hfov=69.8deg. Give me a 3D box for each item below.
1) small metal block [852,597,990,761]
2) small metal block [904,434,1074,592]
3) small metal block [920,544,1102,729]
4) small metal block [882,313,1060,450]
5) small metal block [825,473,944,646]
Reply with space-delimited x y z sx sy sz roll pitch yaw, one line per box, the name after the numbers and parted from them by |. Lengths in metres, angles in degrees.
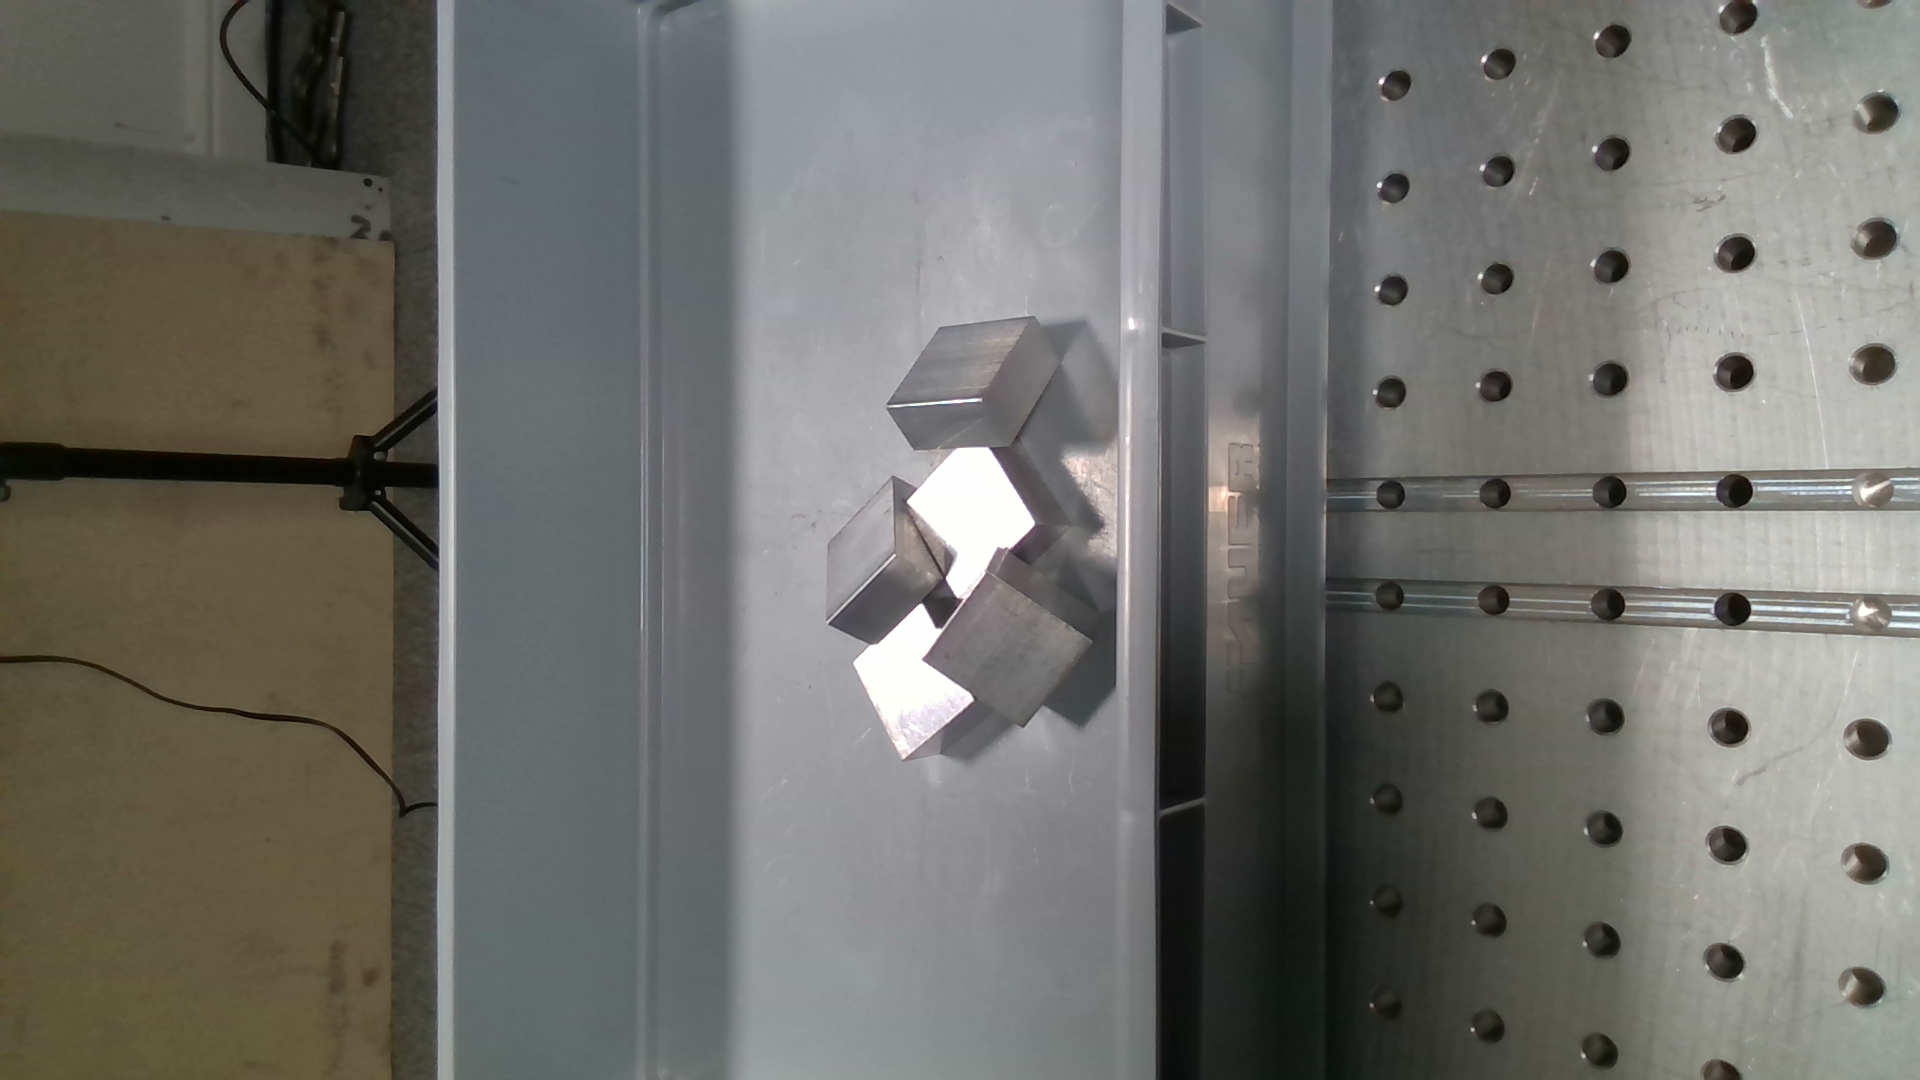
-0.013 0.059 0.592 0.050 0.025 0.050 -44 64 32 | small metal block
0.011 -0.011 0.571 0.050 0.025 0.050 -45 63 31 | small metal block
0.020 0.039 0.549 0.050 0.025 0.050 34 117 -3 | small metal block
0.005 -0.064 0.558 0.050 0.025 0.050 1 47 40 | small metal block
-0.033 0.009 0.594 0.050 0.025 0.050 -44 32 31 | small metal block
